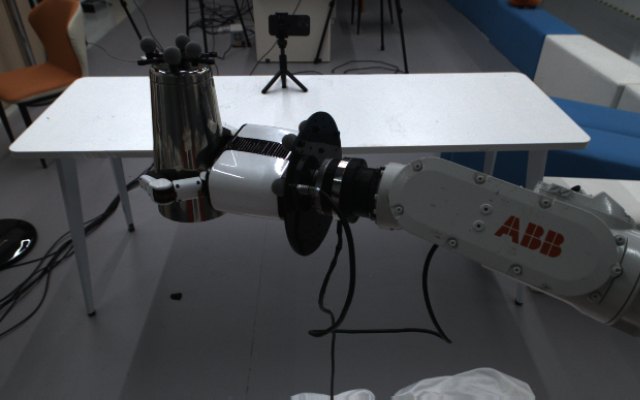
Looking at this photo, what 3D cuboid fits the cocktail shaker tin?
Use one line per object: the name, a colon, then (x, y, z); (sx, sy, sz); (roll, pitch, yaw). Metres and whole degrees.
cocktail shaker tin: (-0.151, -0.070, 0.564); (0.093, 0.170, 0.093); (1, 28, 0)
